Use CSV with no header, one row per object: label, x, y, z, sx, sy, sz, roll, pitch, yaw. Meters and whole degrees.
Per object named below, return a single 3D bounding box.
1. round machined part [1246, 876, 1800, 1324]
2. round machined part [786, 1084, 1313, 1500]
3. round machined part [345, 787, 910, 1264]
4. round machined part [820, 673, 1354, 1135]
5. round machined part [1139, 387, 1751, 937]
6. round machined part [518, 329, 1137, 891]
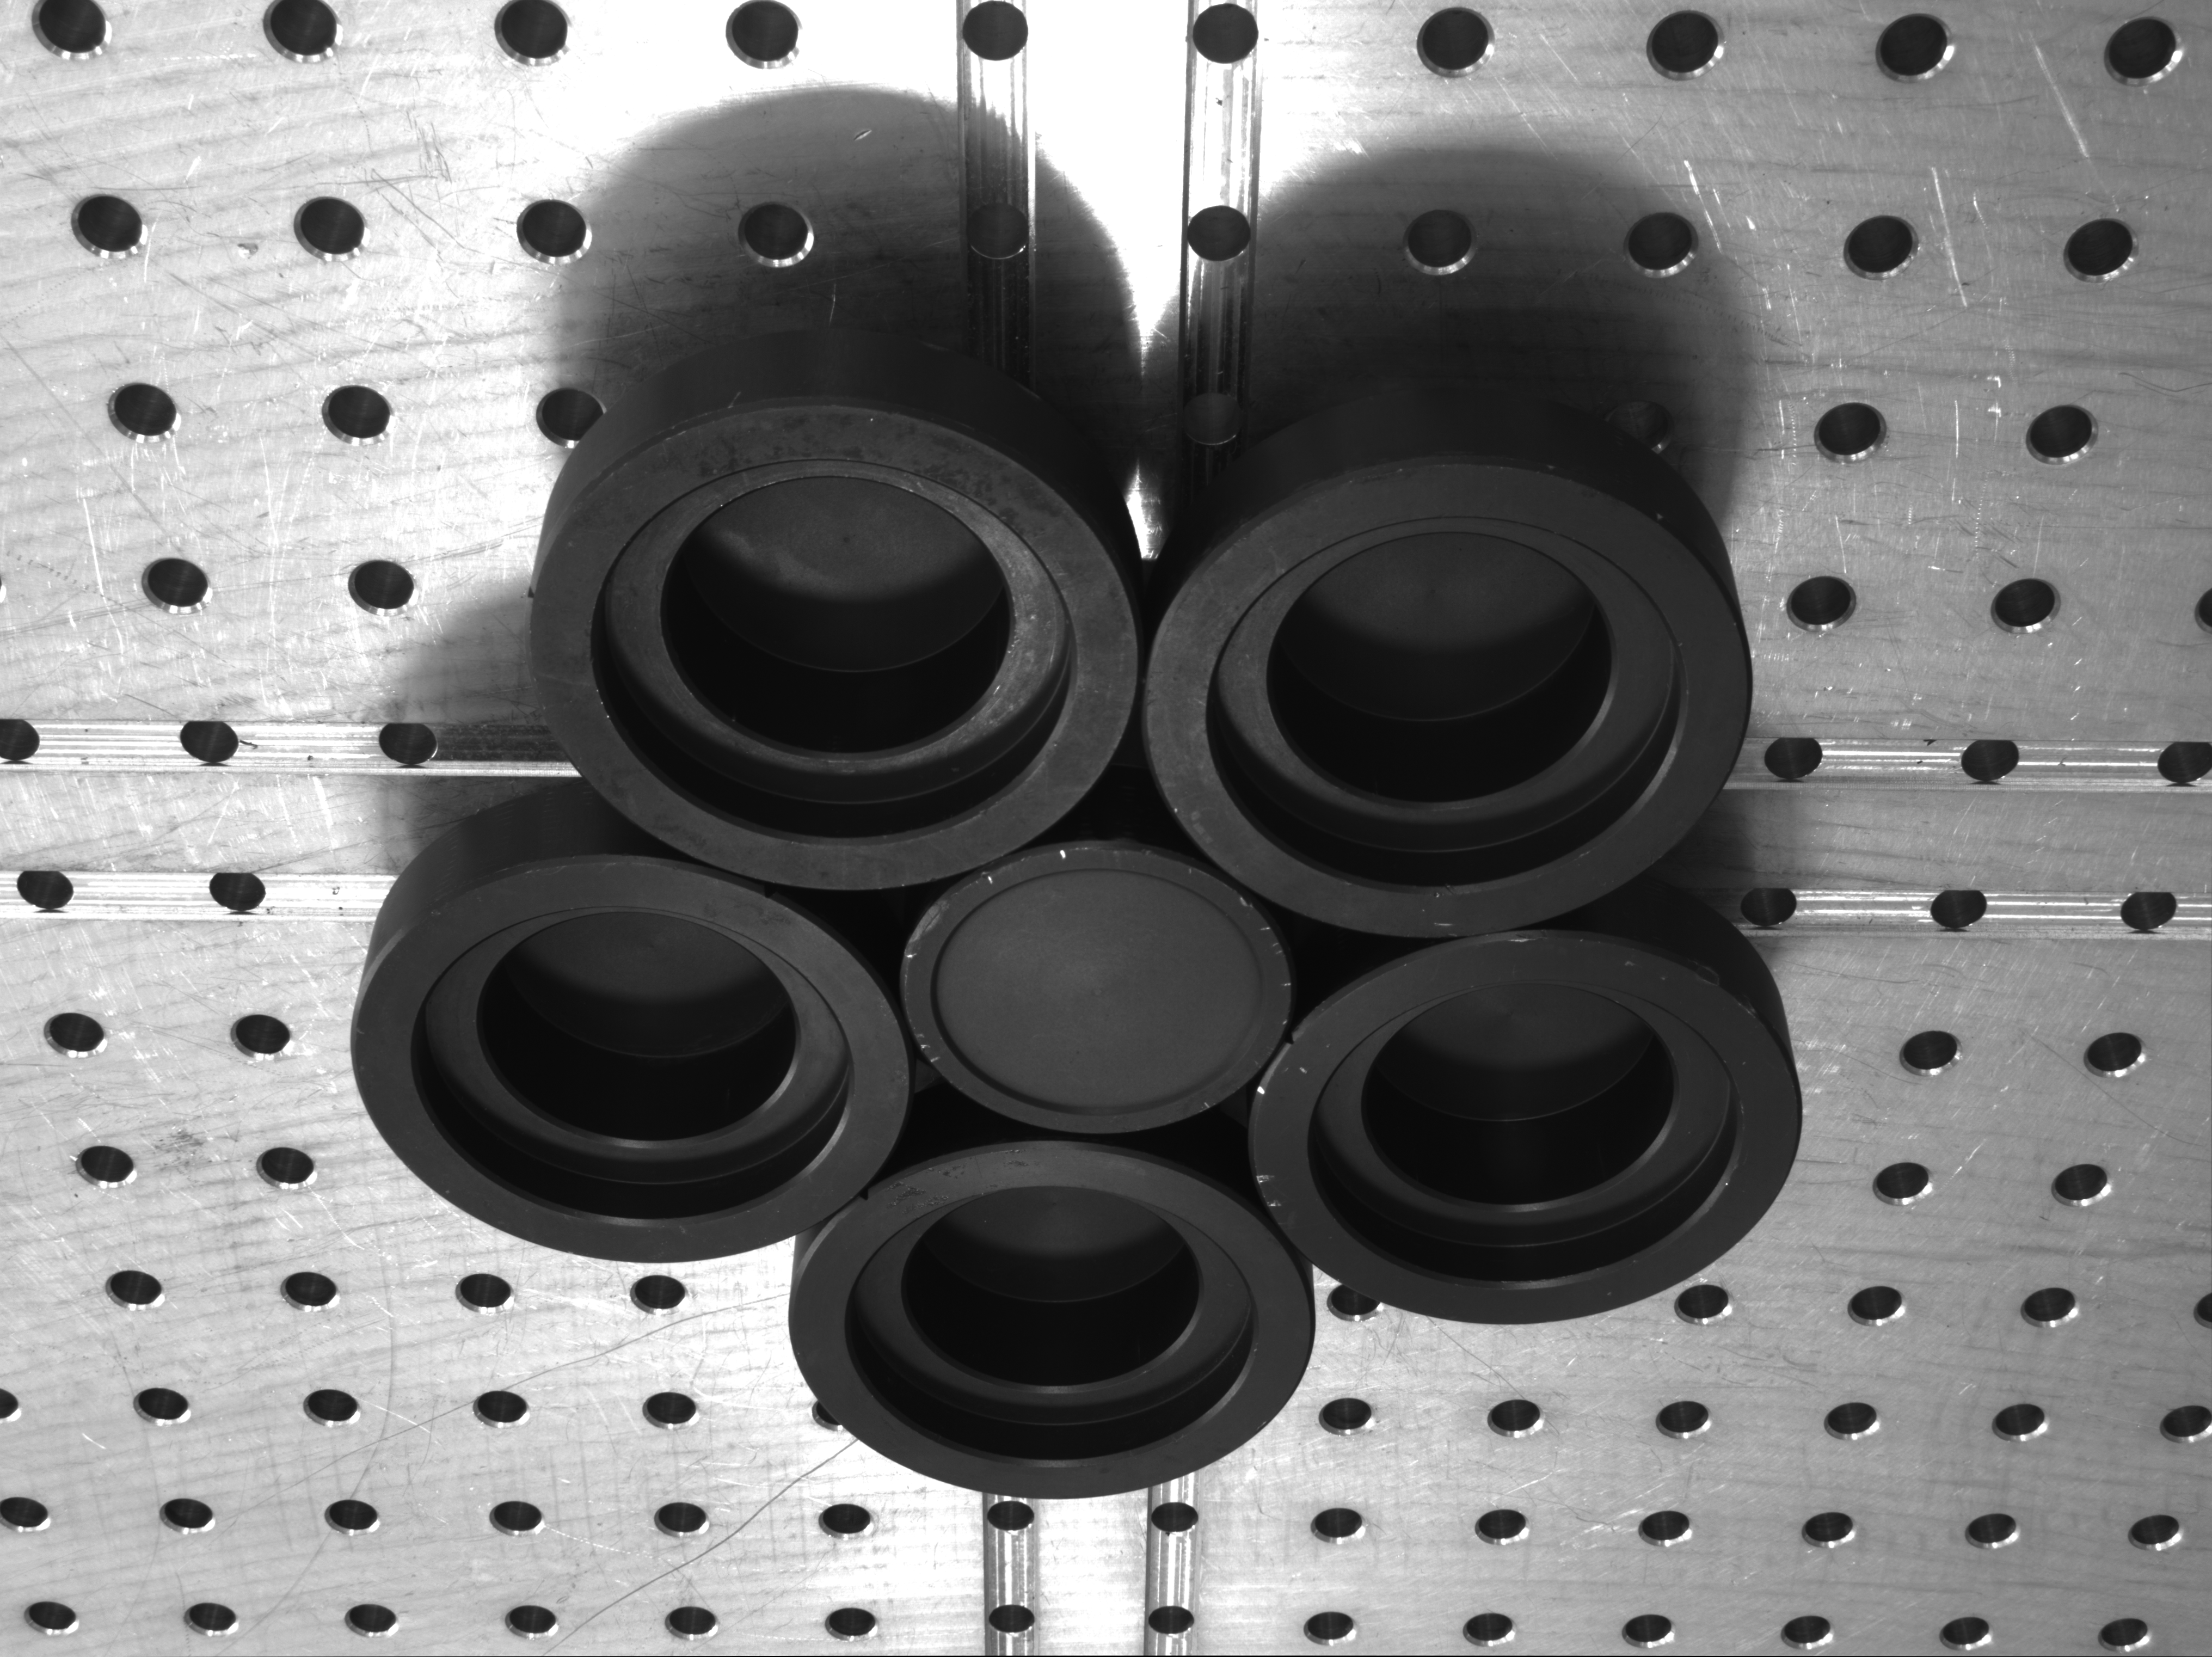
round machined part,0.074,0.042,0.667,0.098,0.042,0.098,0,130,0
round machined part,-0.010,0.080,0.698,0.098,0.042,0.098,0,130,0
round machined part,-0.083,0.029,0.656,0.098,0.042,0.098,0,130,0
round machined part,-0.002,0.015,0.644,0.098,0.042,0.098,0,130,0
round machined part,0.054,-0.032,0.605,0.098,0.042,0.098,0,130,0
round machined part,-0.044,-0.040,0.598,0.098,0.042,0.098,0,130,0
